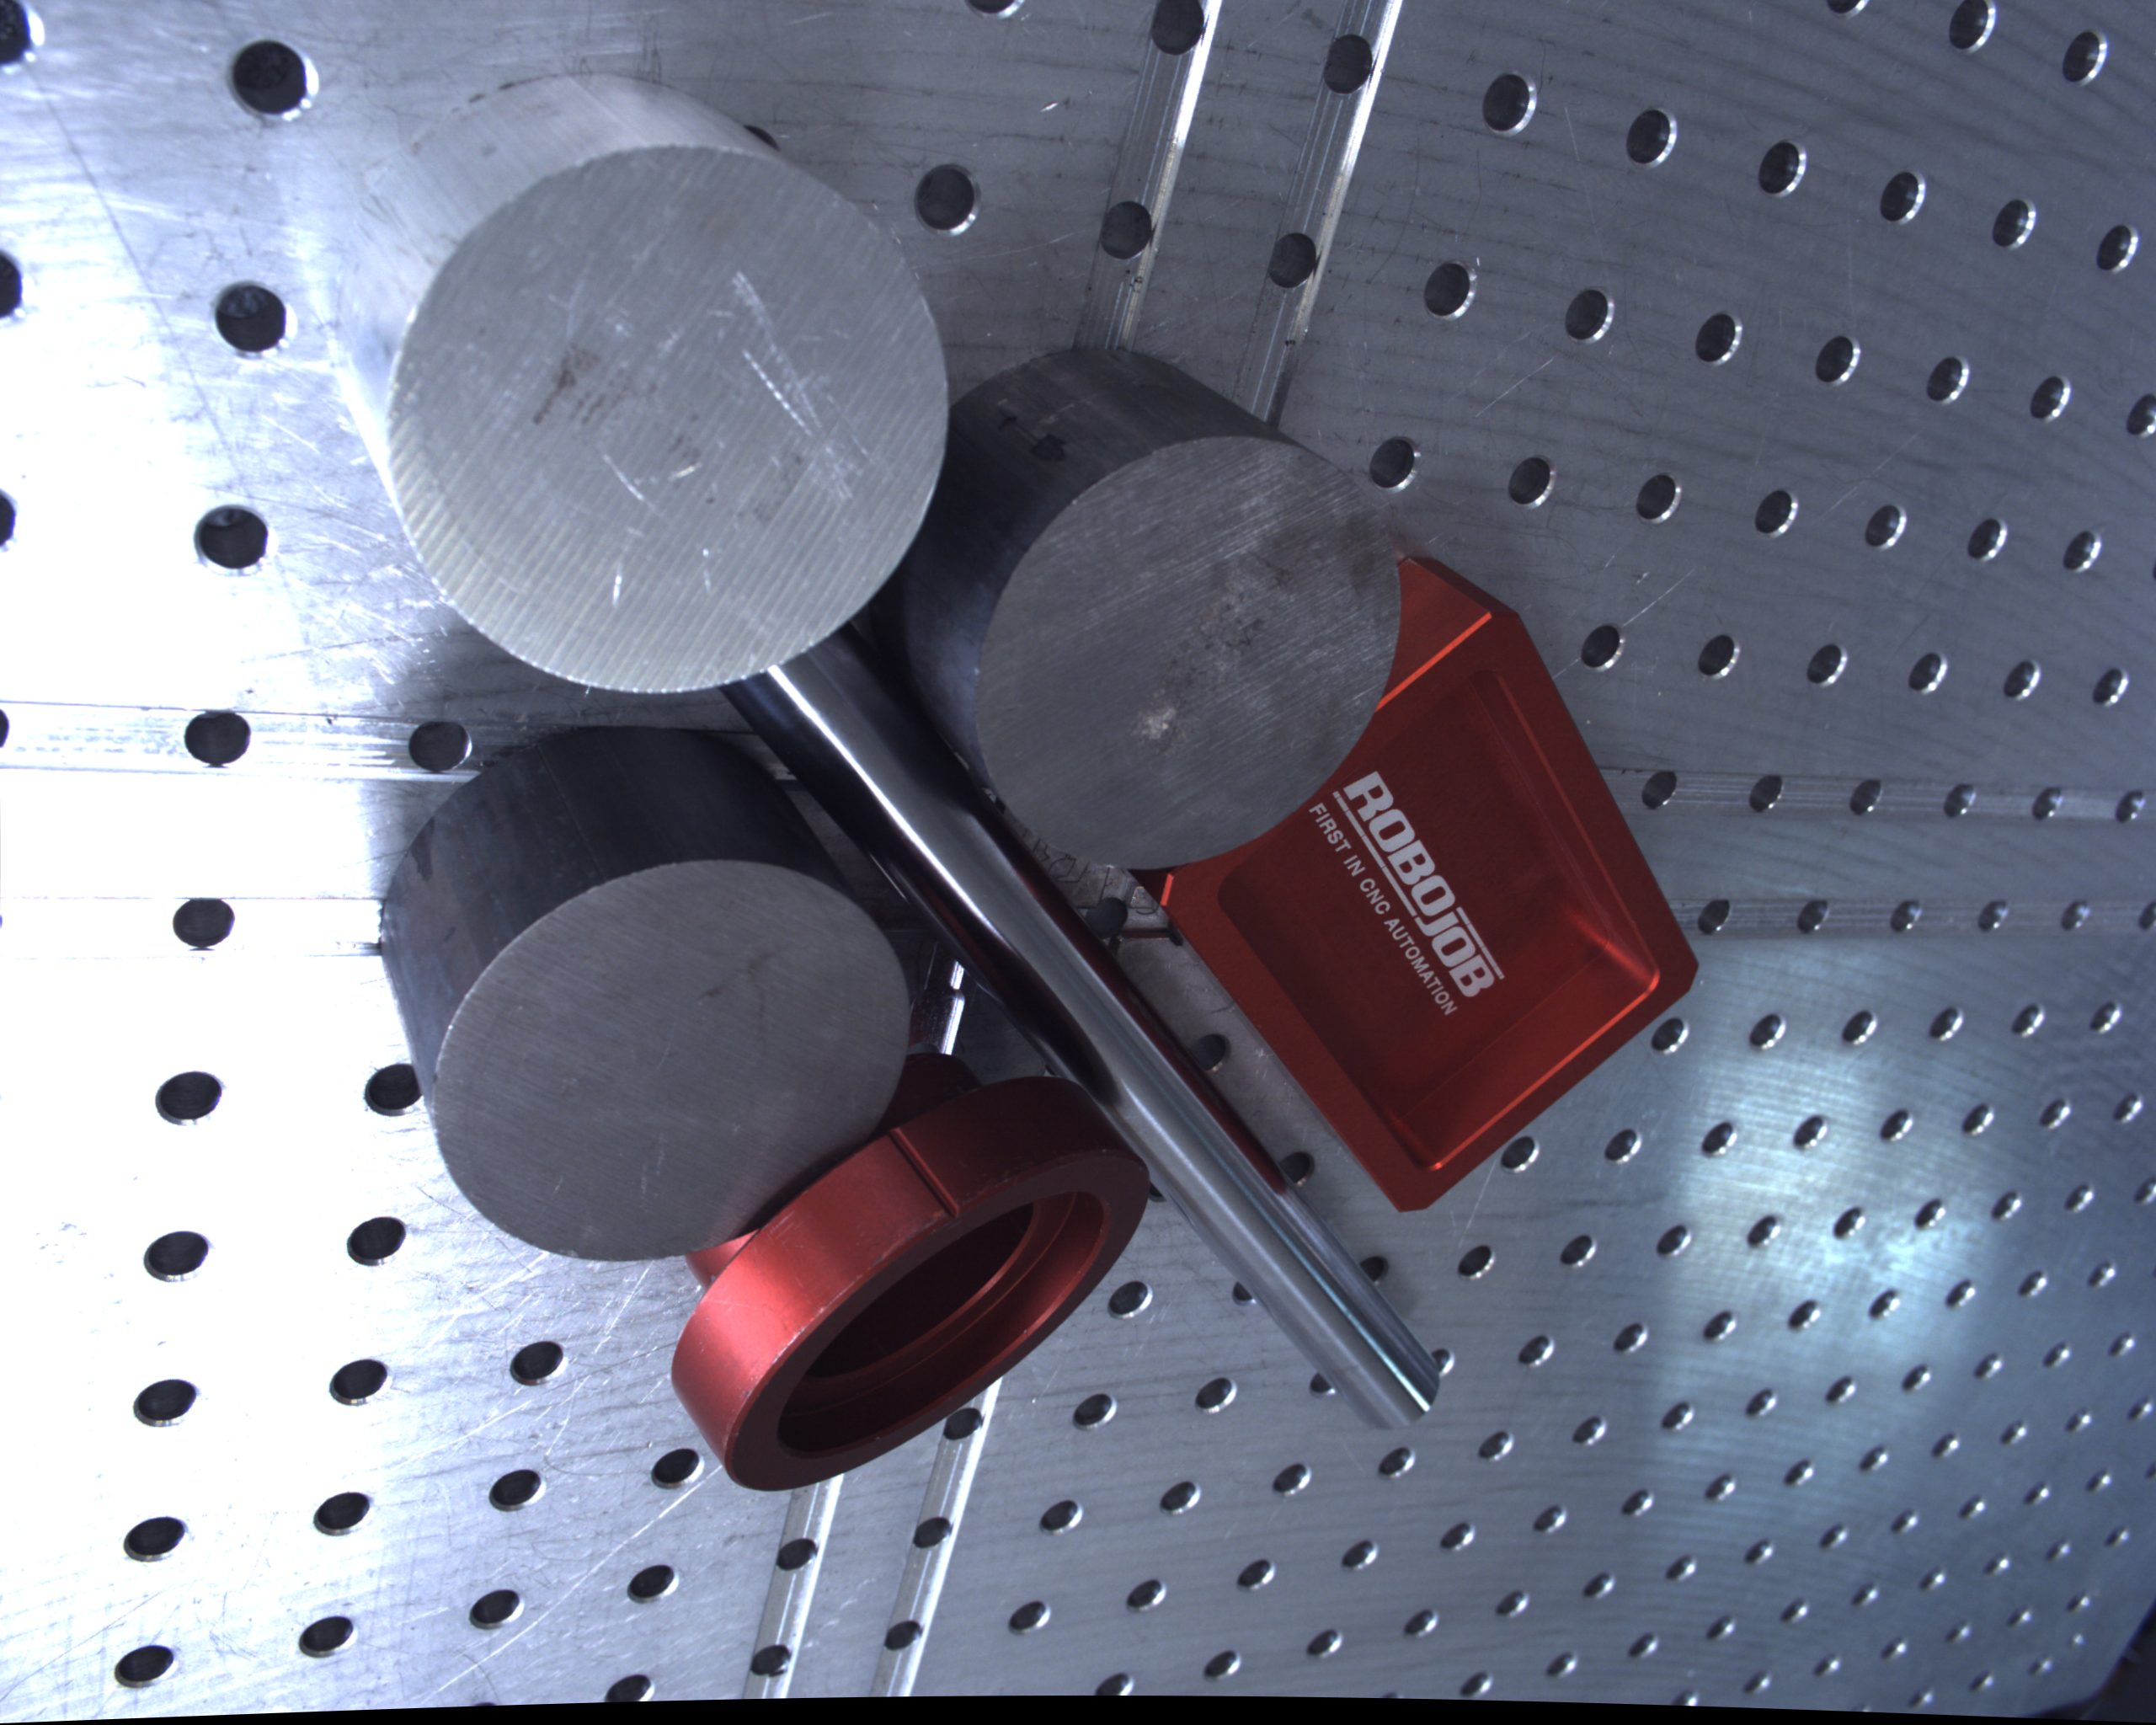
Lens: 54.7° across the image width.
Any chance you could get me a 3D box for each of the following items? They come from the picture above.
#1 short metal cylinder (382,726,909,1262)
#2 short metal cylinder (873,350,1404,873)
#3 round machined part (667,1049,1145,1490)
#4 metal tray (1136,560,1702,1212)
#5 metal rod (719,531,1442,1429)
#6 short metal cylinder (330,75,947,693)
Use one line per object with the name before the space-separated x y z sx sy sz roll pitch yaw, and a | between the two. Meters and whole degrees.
short metal cylinder | -0.076 0.023 0.367 0.081 0.050 0.079 -14 124 -21
short metal cylinder | 0.010 -0.045 0.372 0.081 0.050 0.079 -14 124 -21
round machined part | -0.038 0.075 0.412 0.099 0.042 0.098 -32 151 -20
metal tray | 0.074 0.009 0.453 0.090 0.030 0.130 -39 130 -1
metal rod | 0.011 0.043 0.444 0.025 0.025 0.300 -39 129 -2
short metal cylinder | -0.067 -0.072 0.314 0.081 0.050 0.079 -14 124 -21
